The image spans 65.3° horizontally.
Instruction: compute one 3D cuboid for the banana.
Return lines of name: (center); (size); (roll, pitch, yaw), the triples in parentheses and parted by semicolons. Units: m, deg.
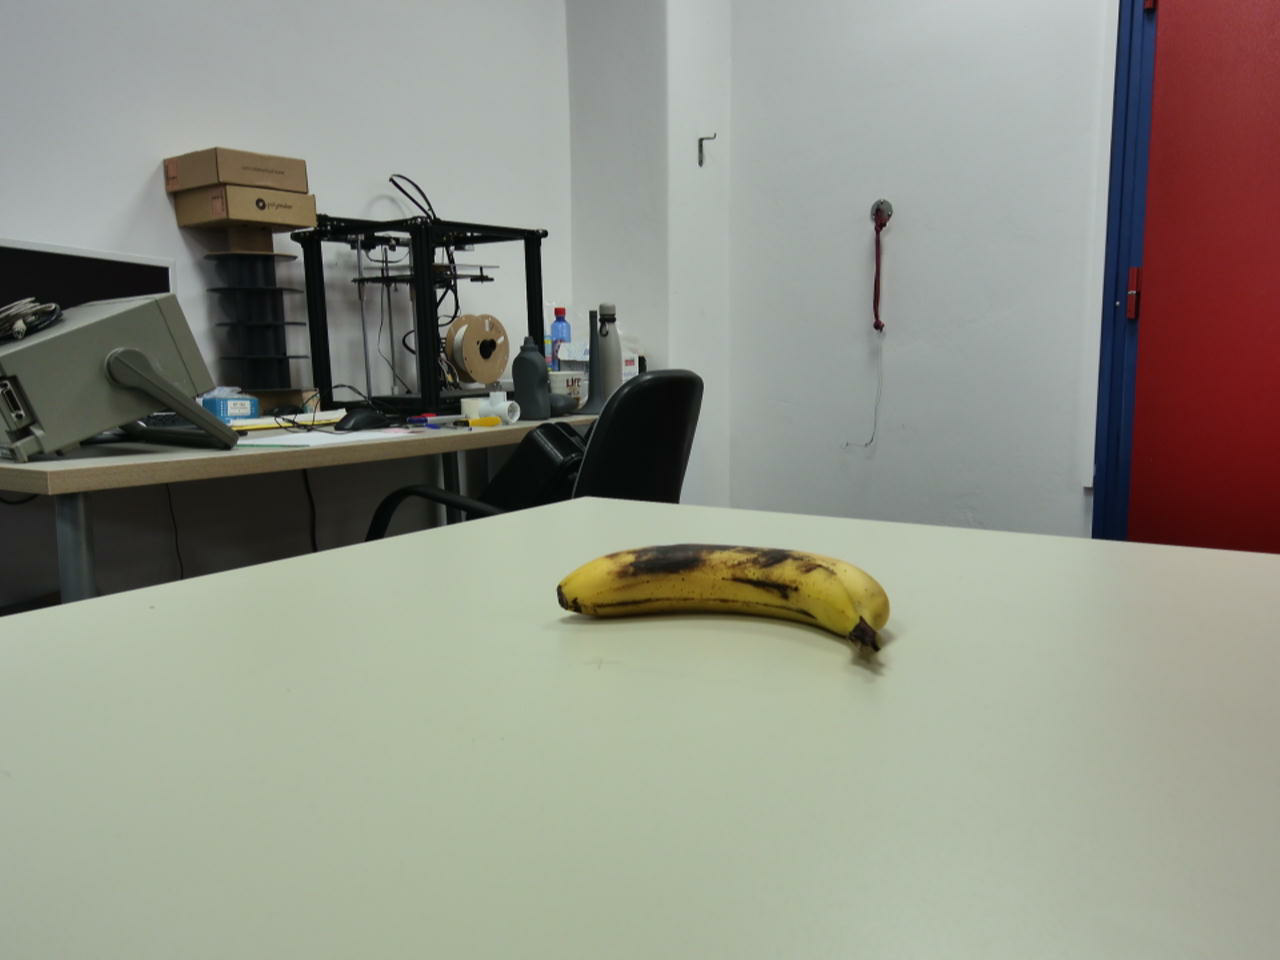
banana: (0.055, 0.060, 0.541); (0.187, 0.039, 0.094); (4, 6, 34)
